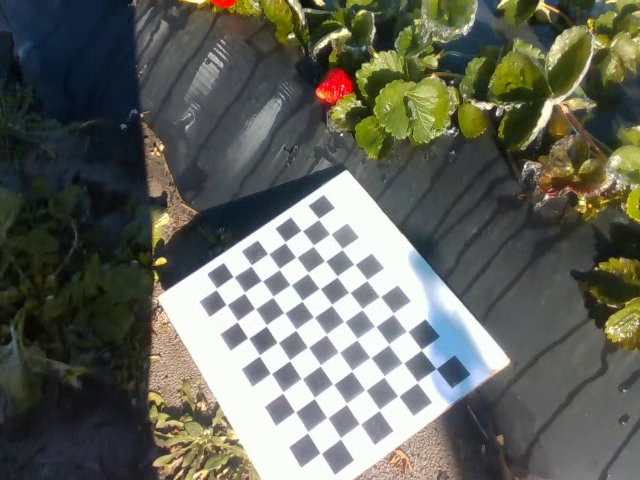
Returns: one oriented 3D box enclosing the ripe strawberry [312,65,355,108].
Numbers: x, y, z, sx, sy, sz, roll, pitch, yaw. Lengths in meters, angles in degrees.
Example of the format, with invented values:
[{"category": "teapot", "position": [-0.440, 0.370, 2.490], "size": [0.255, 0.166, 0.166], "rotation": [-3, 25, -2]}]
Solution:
[{"category": "ripe strawberry", "position": [0.012, -0.153, 0.577], "size": [0.052, 0.047, 0.042], "rotation": [-22, 59, -44]}]
